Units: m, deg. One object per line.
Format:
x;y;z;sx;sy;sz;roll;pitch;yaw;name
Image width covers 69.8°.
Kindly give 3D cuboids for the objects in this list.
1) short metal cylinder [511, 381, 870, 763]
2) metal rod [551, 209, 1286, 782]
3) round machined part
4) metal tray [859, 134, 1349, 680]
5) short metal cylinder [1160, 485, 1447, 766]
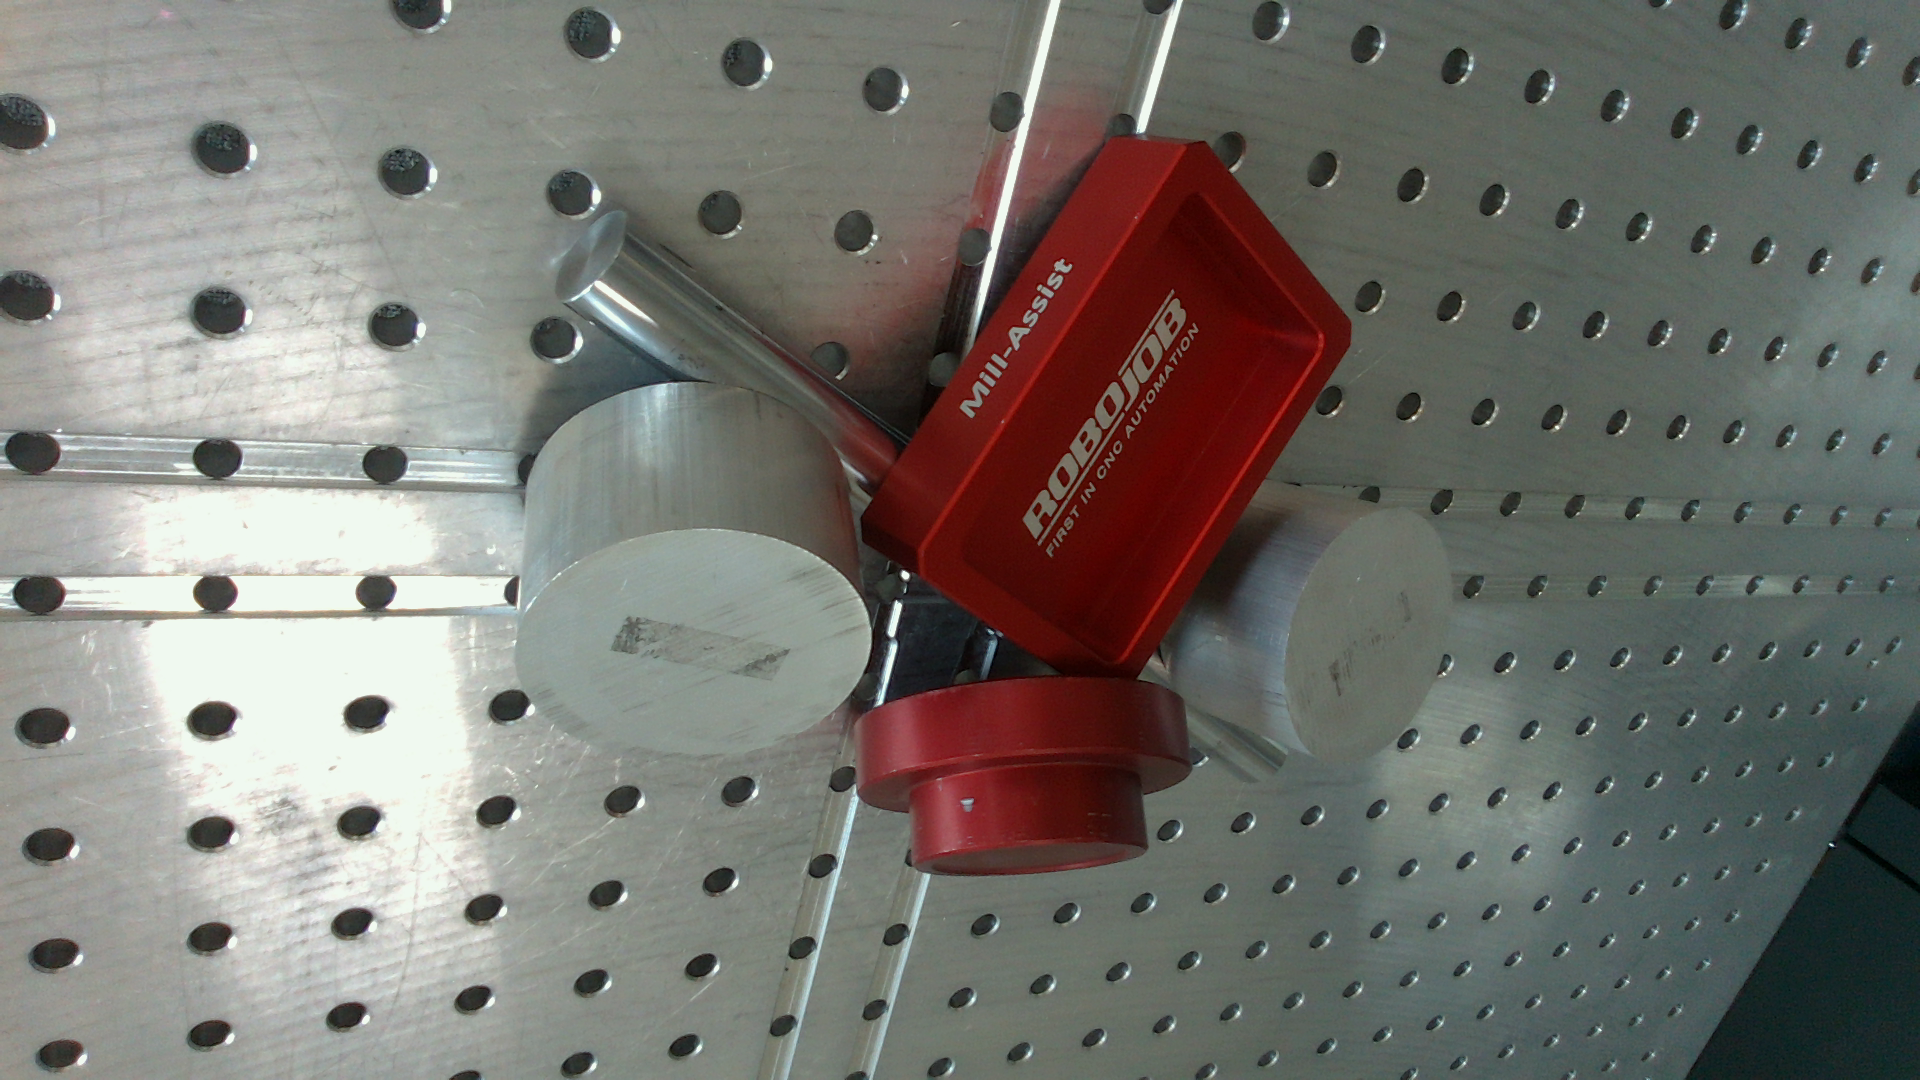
-0.065;0.009;0.331;0.080;0.050;0.080;-8;136;-7;short metal cylinder
0.012;0.006;0.402;0.025;0.025;0.301;-49;129;6;metal rod
0.018;0.073;0.401;0.098;0.042;0.098;-4;160;-1;round machined part
0.043;-0.031;0.374;0.090;0.030;0.130;36;84;-39;metal tray
0.109;0.025;0.435;0.080;0.050;0.080;-11;108;-37;short metal cylinder
